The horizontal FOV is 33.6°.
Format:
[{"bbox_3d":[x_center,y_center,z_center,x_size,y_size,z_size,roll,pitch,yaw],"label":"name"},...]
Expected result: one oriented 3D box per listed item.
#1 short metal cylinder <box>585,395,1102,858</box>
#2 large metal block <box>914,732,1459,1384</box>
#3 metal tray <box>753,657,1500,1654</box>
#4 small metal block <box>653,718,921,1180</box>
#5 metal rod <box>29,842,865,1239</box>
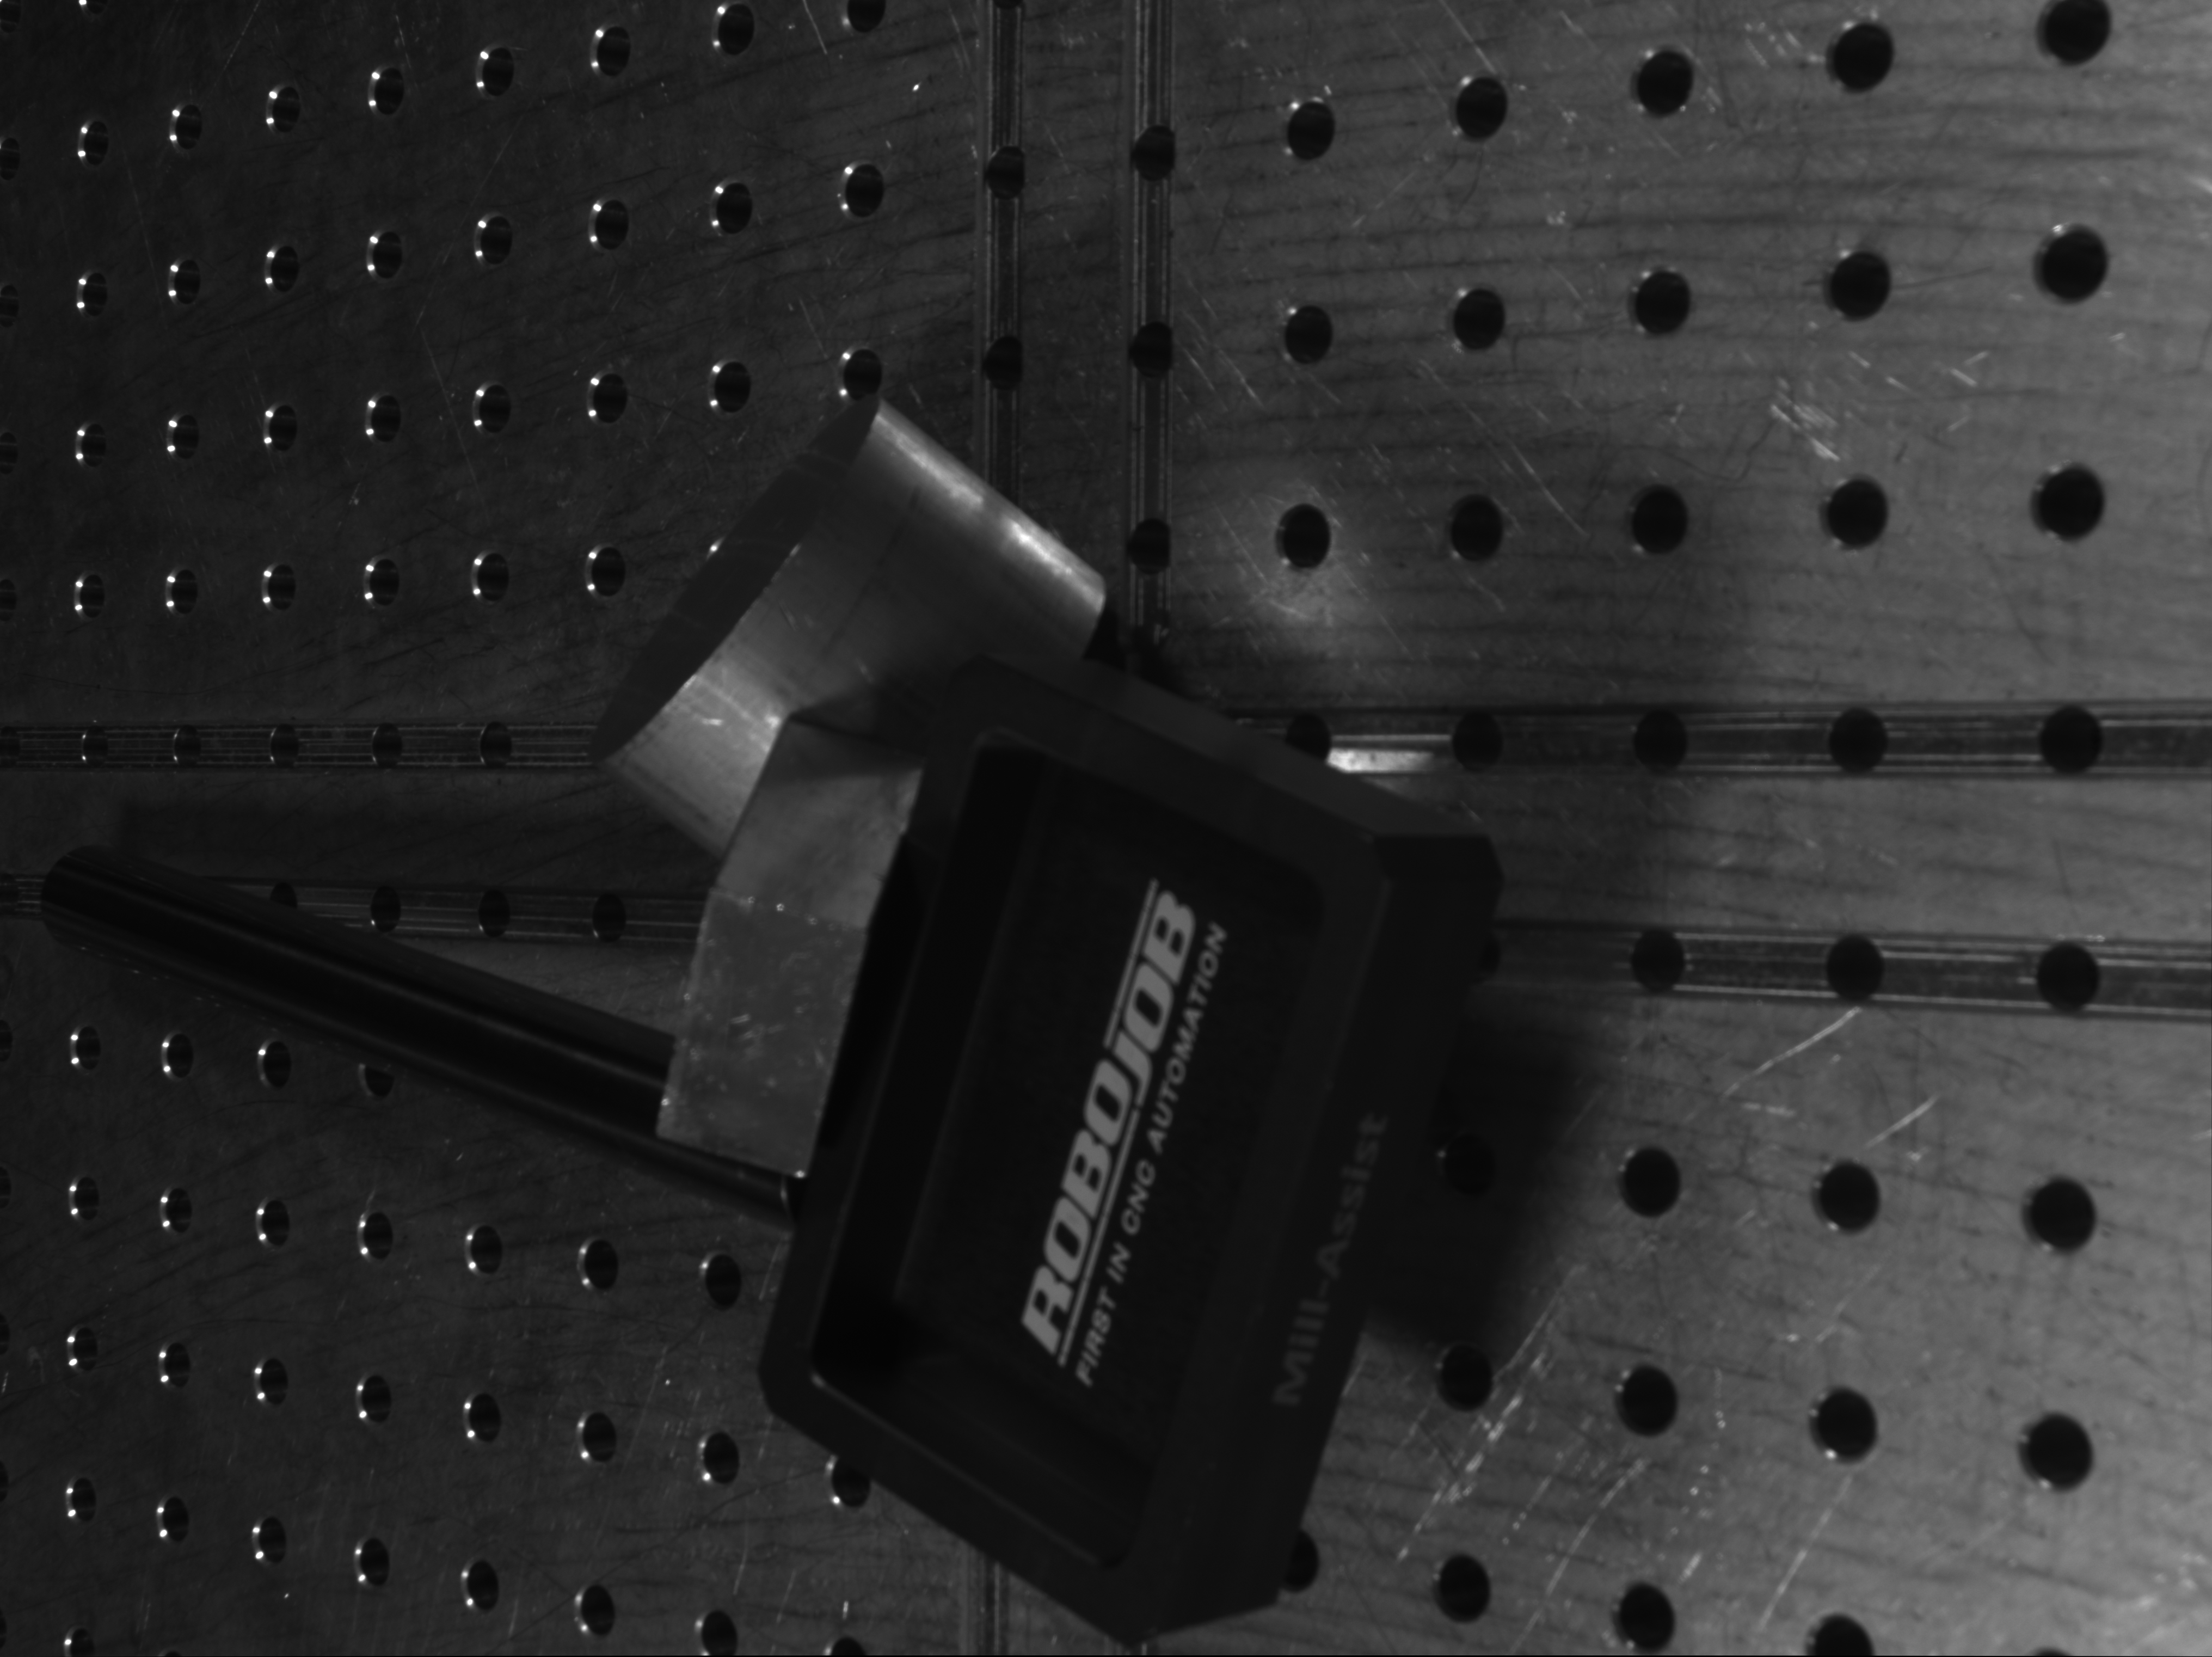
[{"bbox_3d":[-0.046,-0.028,0.633,0.050,0.080,0.080,39,122,-15],"label":"short metal cylinder"},{"bbox_3d":[-0.001,0.040,0.622,0.080,0.050,0.080,-42,65,31],"label":"large metal block"},{"bbox_3d":[0.000,0.048,0.567,0.090,0.030,0.130,26,106,37],"label":"metal tray"},{"bbox_3d":[-0.050,0.019,0.586,0.025,0.050,0.050,16,124,0],"label":"small metal block"},{"bbox_3d":[-0.139,0.036,0.715,0.299,0.025,0.025,12,98,50],"label":"metal rod"}]
